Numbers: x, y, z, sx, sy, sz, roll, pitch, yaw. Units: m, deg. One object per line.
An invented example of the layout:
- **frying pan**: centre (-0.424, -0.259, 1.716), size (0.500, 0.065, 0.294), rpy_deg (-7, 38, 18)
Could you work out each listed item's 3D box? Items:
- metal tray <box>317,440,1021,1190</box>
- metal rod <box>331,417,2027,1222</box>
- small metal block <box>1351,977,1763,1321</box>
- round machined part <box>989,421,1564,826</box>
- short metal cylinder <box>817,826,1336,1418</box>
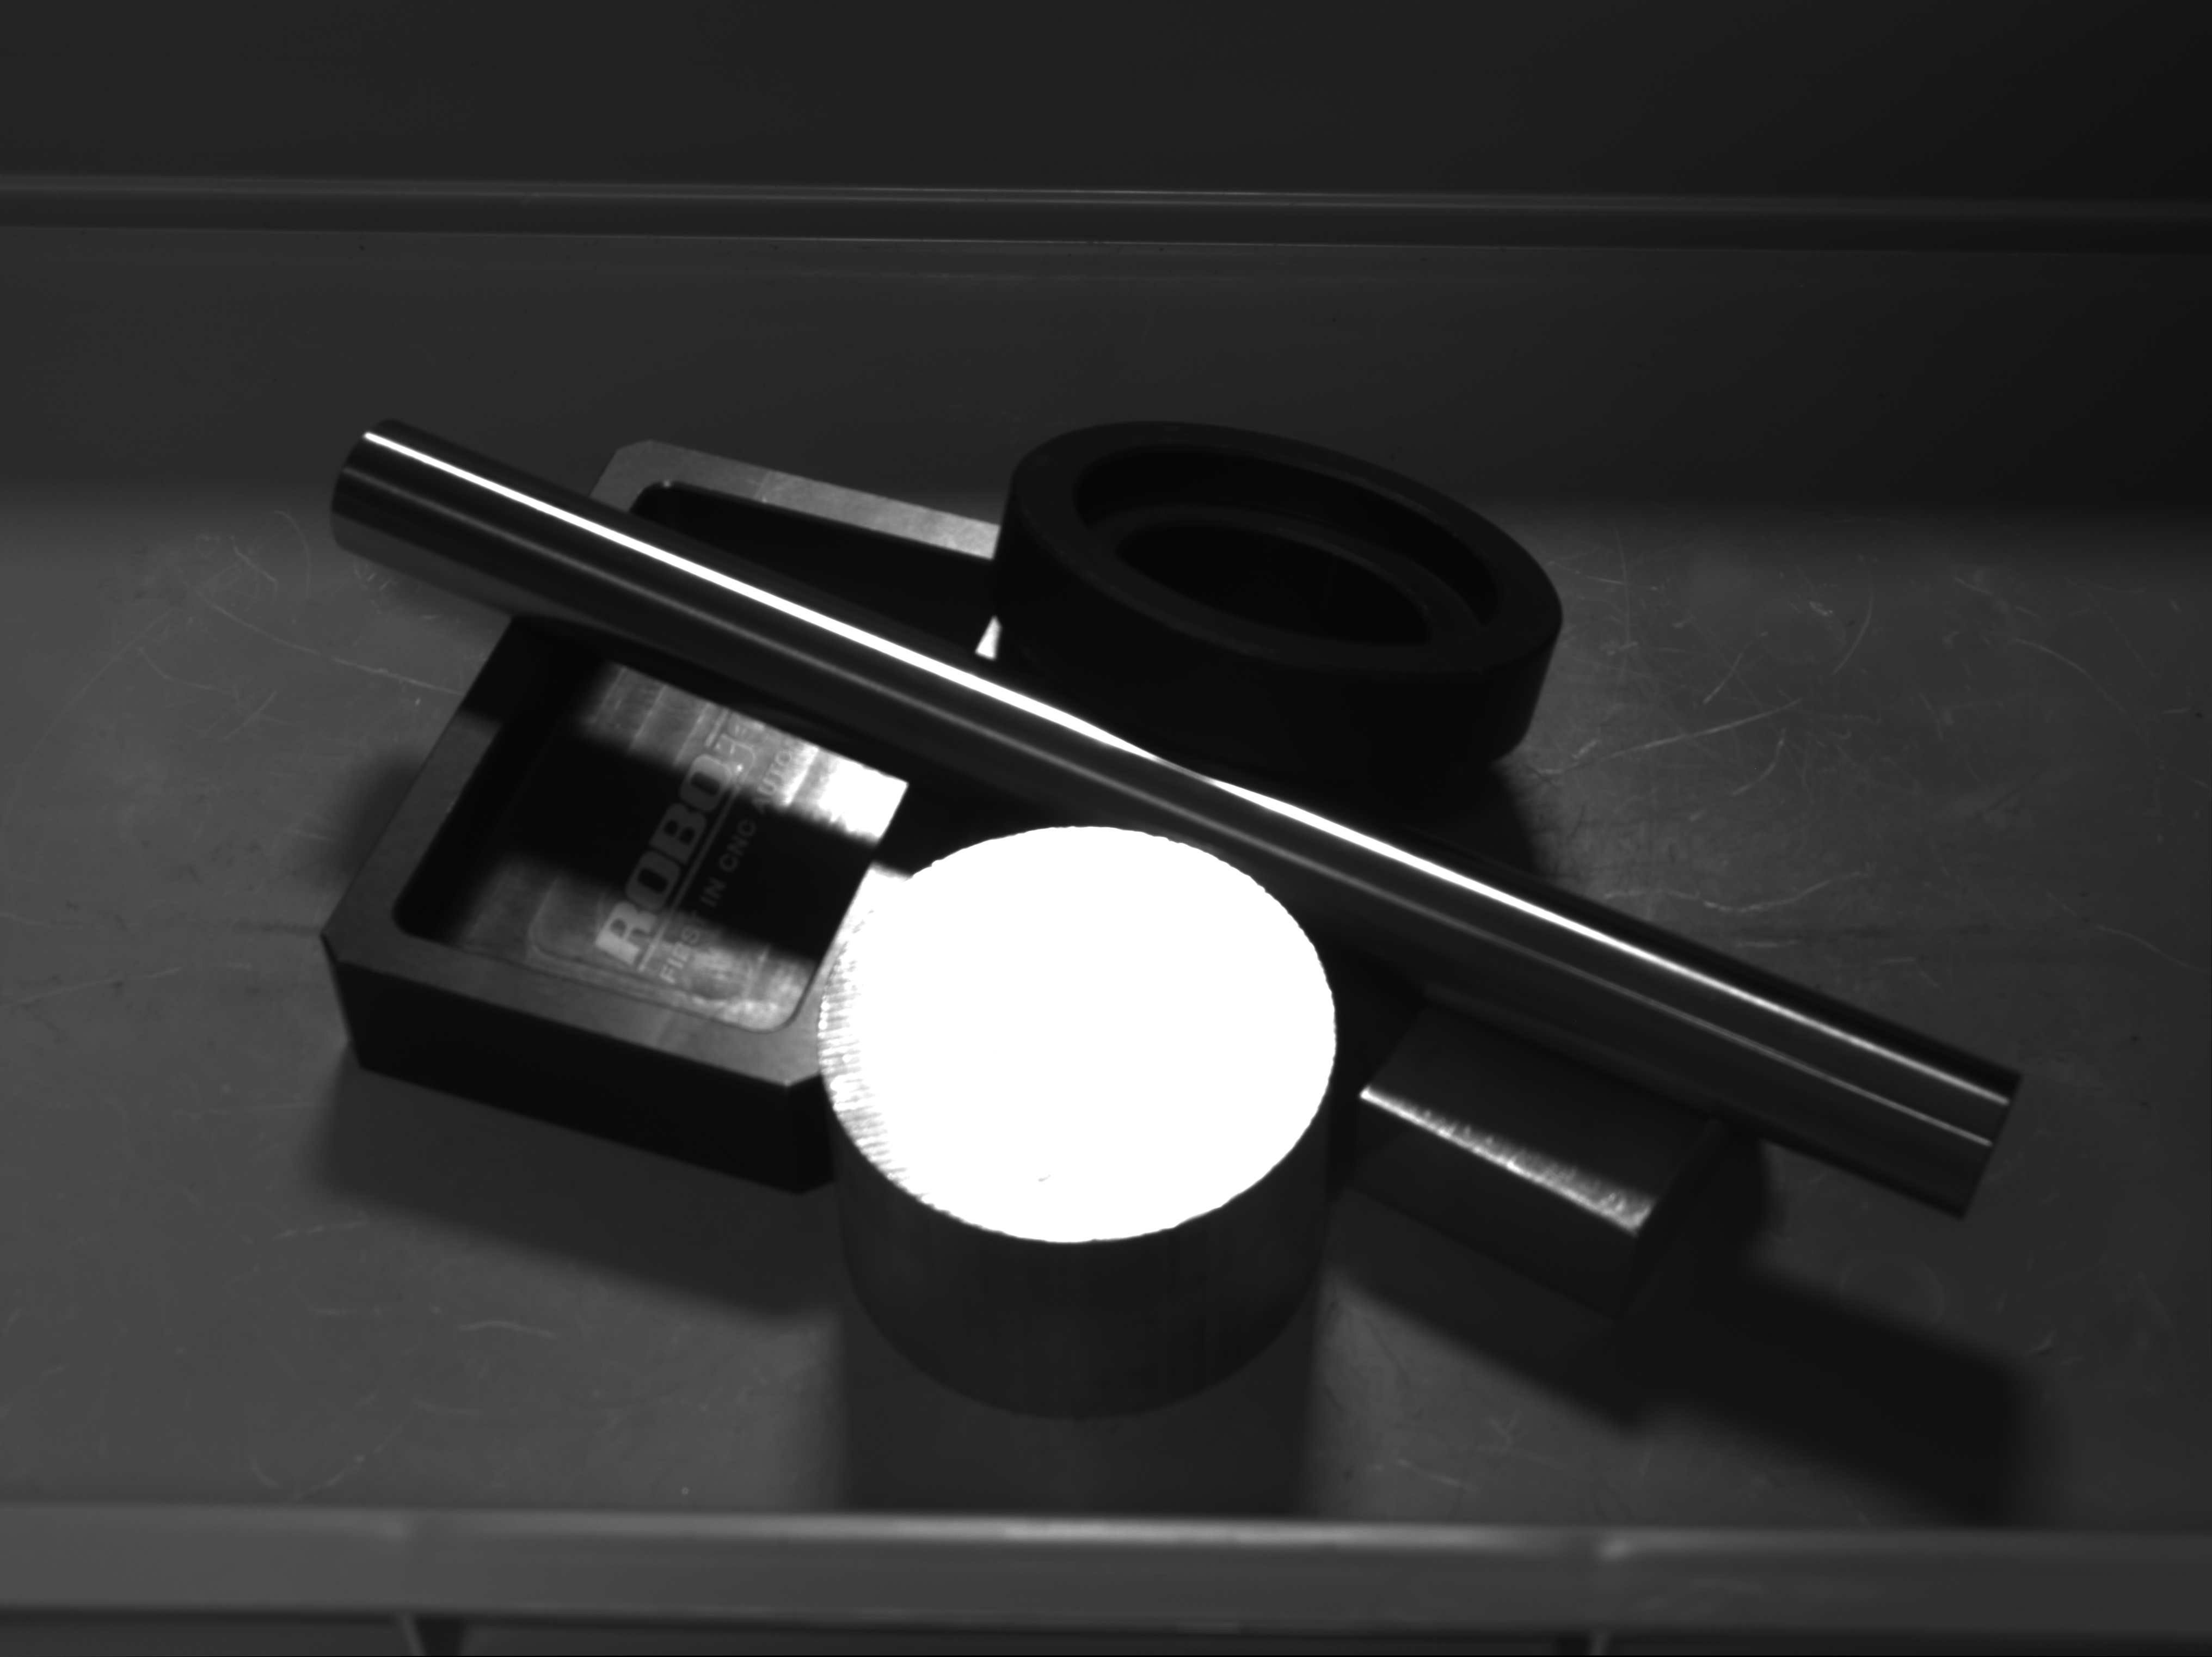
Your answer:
- **metal tray**: centre (-0.068, -0.006, 0.641), size (0.090, 0.030, 0.130), rpy_deg (14, 51, 12)
- **metal rod**: centre (0.004, -0.006, 0.607), size (0.300, 0.025, 0.025), rpy_deg (22, 53, 15)
- **small metal block**: centre (0.075, 0.045, 0.602), size (0.050, 0.025, 0.050), rpy_deg (25, 54, 20)
- **round machined part**: centre (0.027, -0.032, 0.640), size (0.098, 0.042, 0.098), rpy_deg (11, 27, -6)
- **short metal cylinder**: centre (-0.004, 0.046, 0.584), size (0.080, 0.050, 0.080), rpy_deg (0, 50, 0)
